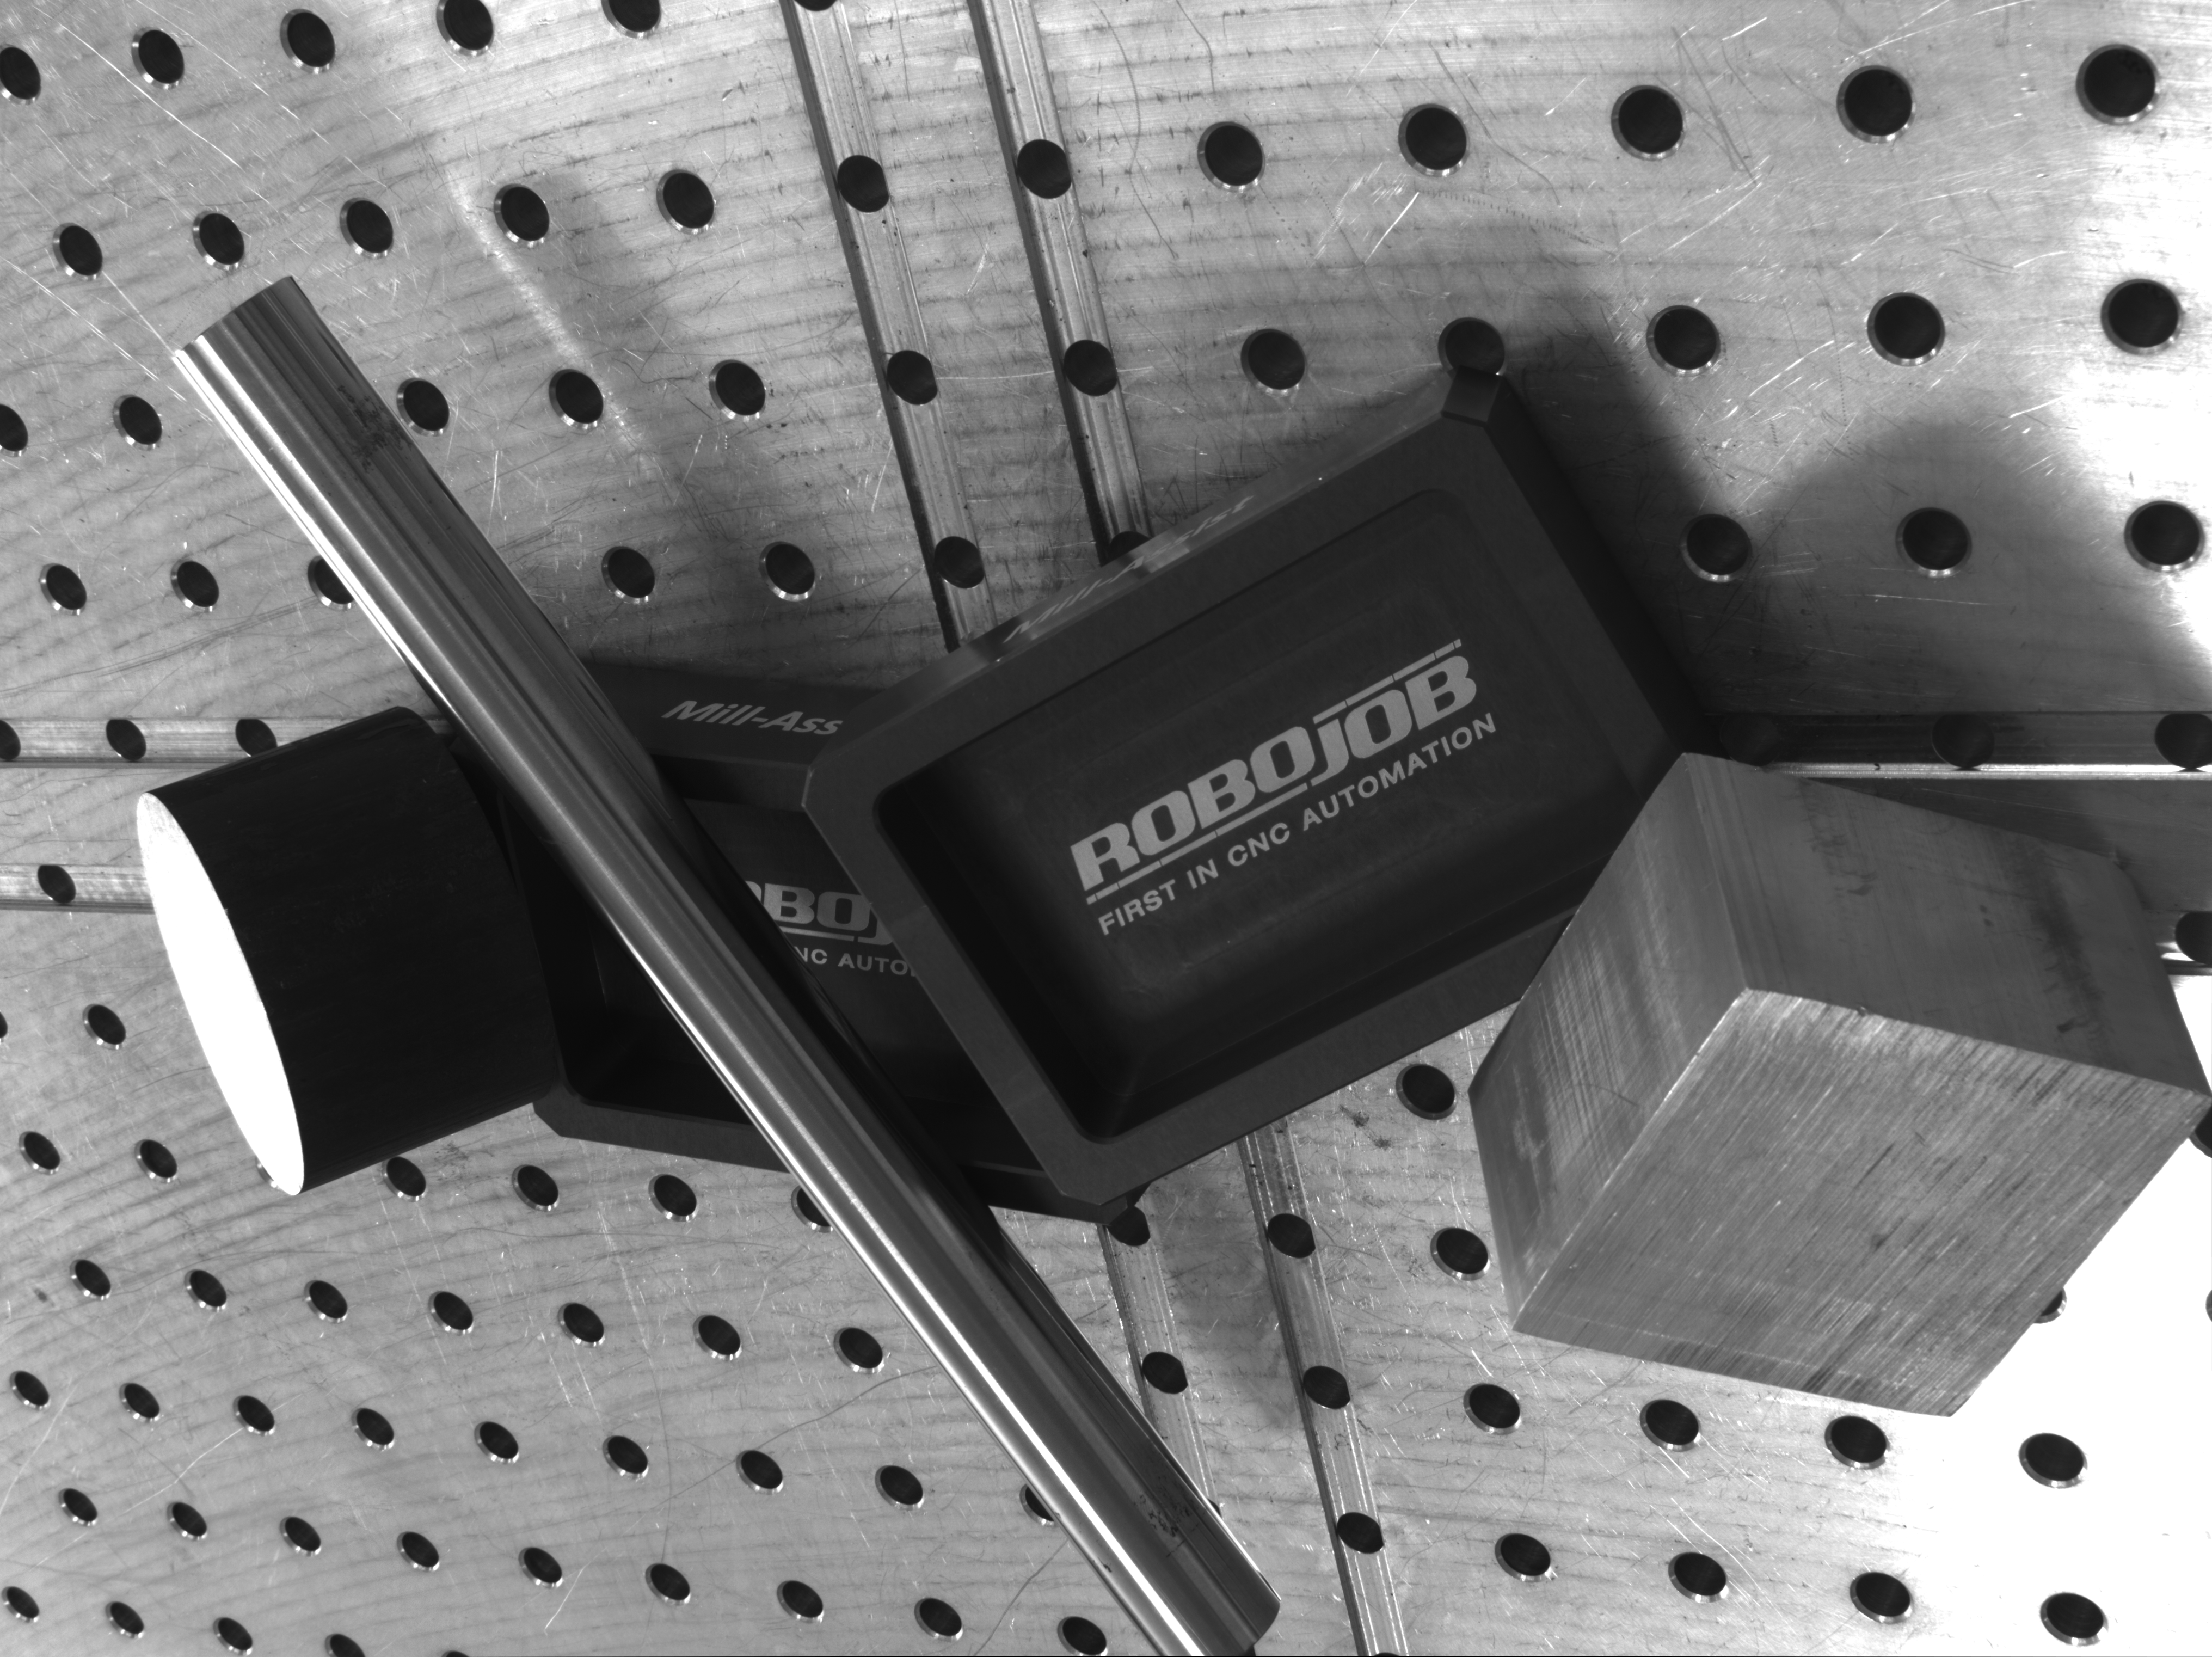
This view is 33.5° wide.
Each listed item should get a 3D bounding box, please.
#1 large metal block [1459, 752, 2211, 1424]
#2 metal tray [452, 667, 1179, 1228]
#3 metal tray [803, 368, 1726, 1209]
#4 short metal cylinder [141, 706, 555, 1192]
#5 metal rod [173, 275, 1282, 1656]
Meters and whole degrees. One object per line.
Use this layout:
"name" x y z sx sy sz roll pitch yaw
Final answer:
"large metal block" 0.111 0.042 0.573 0.080 0.050 0.080 13 131 -17
"metal tray" -0.052 0.020 0.683 0.130 0.030 0.090 6 121 25
"metal tray" 0.028 -0.004 0.601 0.130 0.030 0.090 -28 103 20
"short metal cylinder" -0.145 0.023 0.698 0.080 0.050 0.080 47 149 41
"metal rod" -0.064 0.031 0.661 0.025 0.025 0.300 -28 103 37
